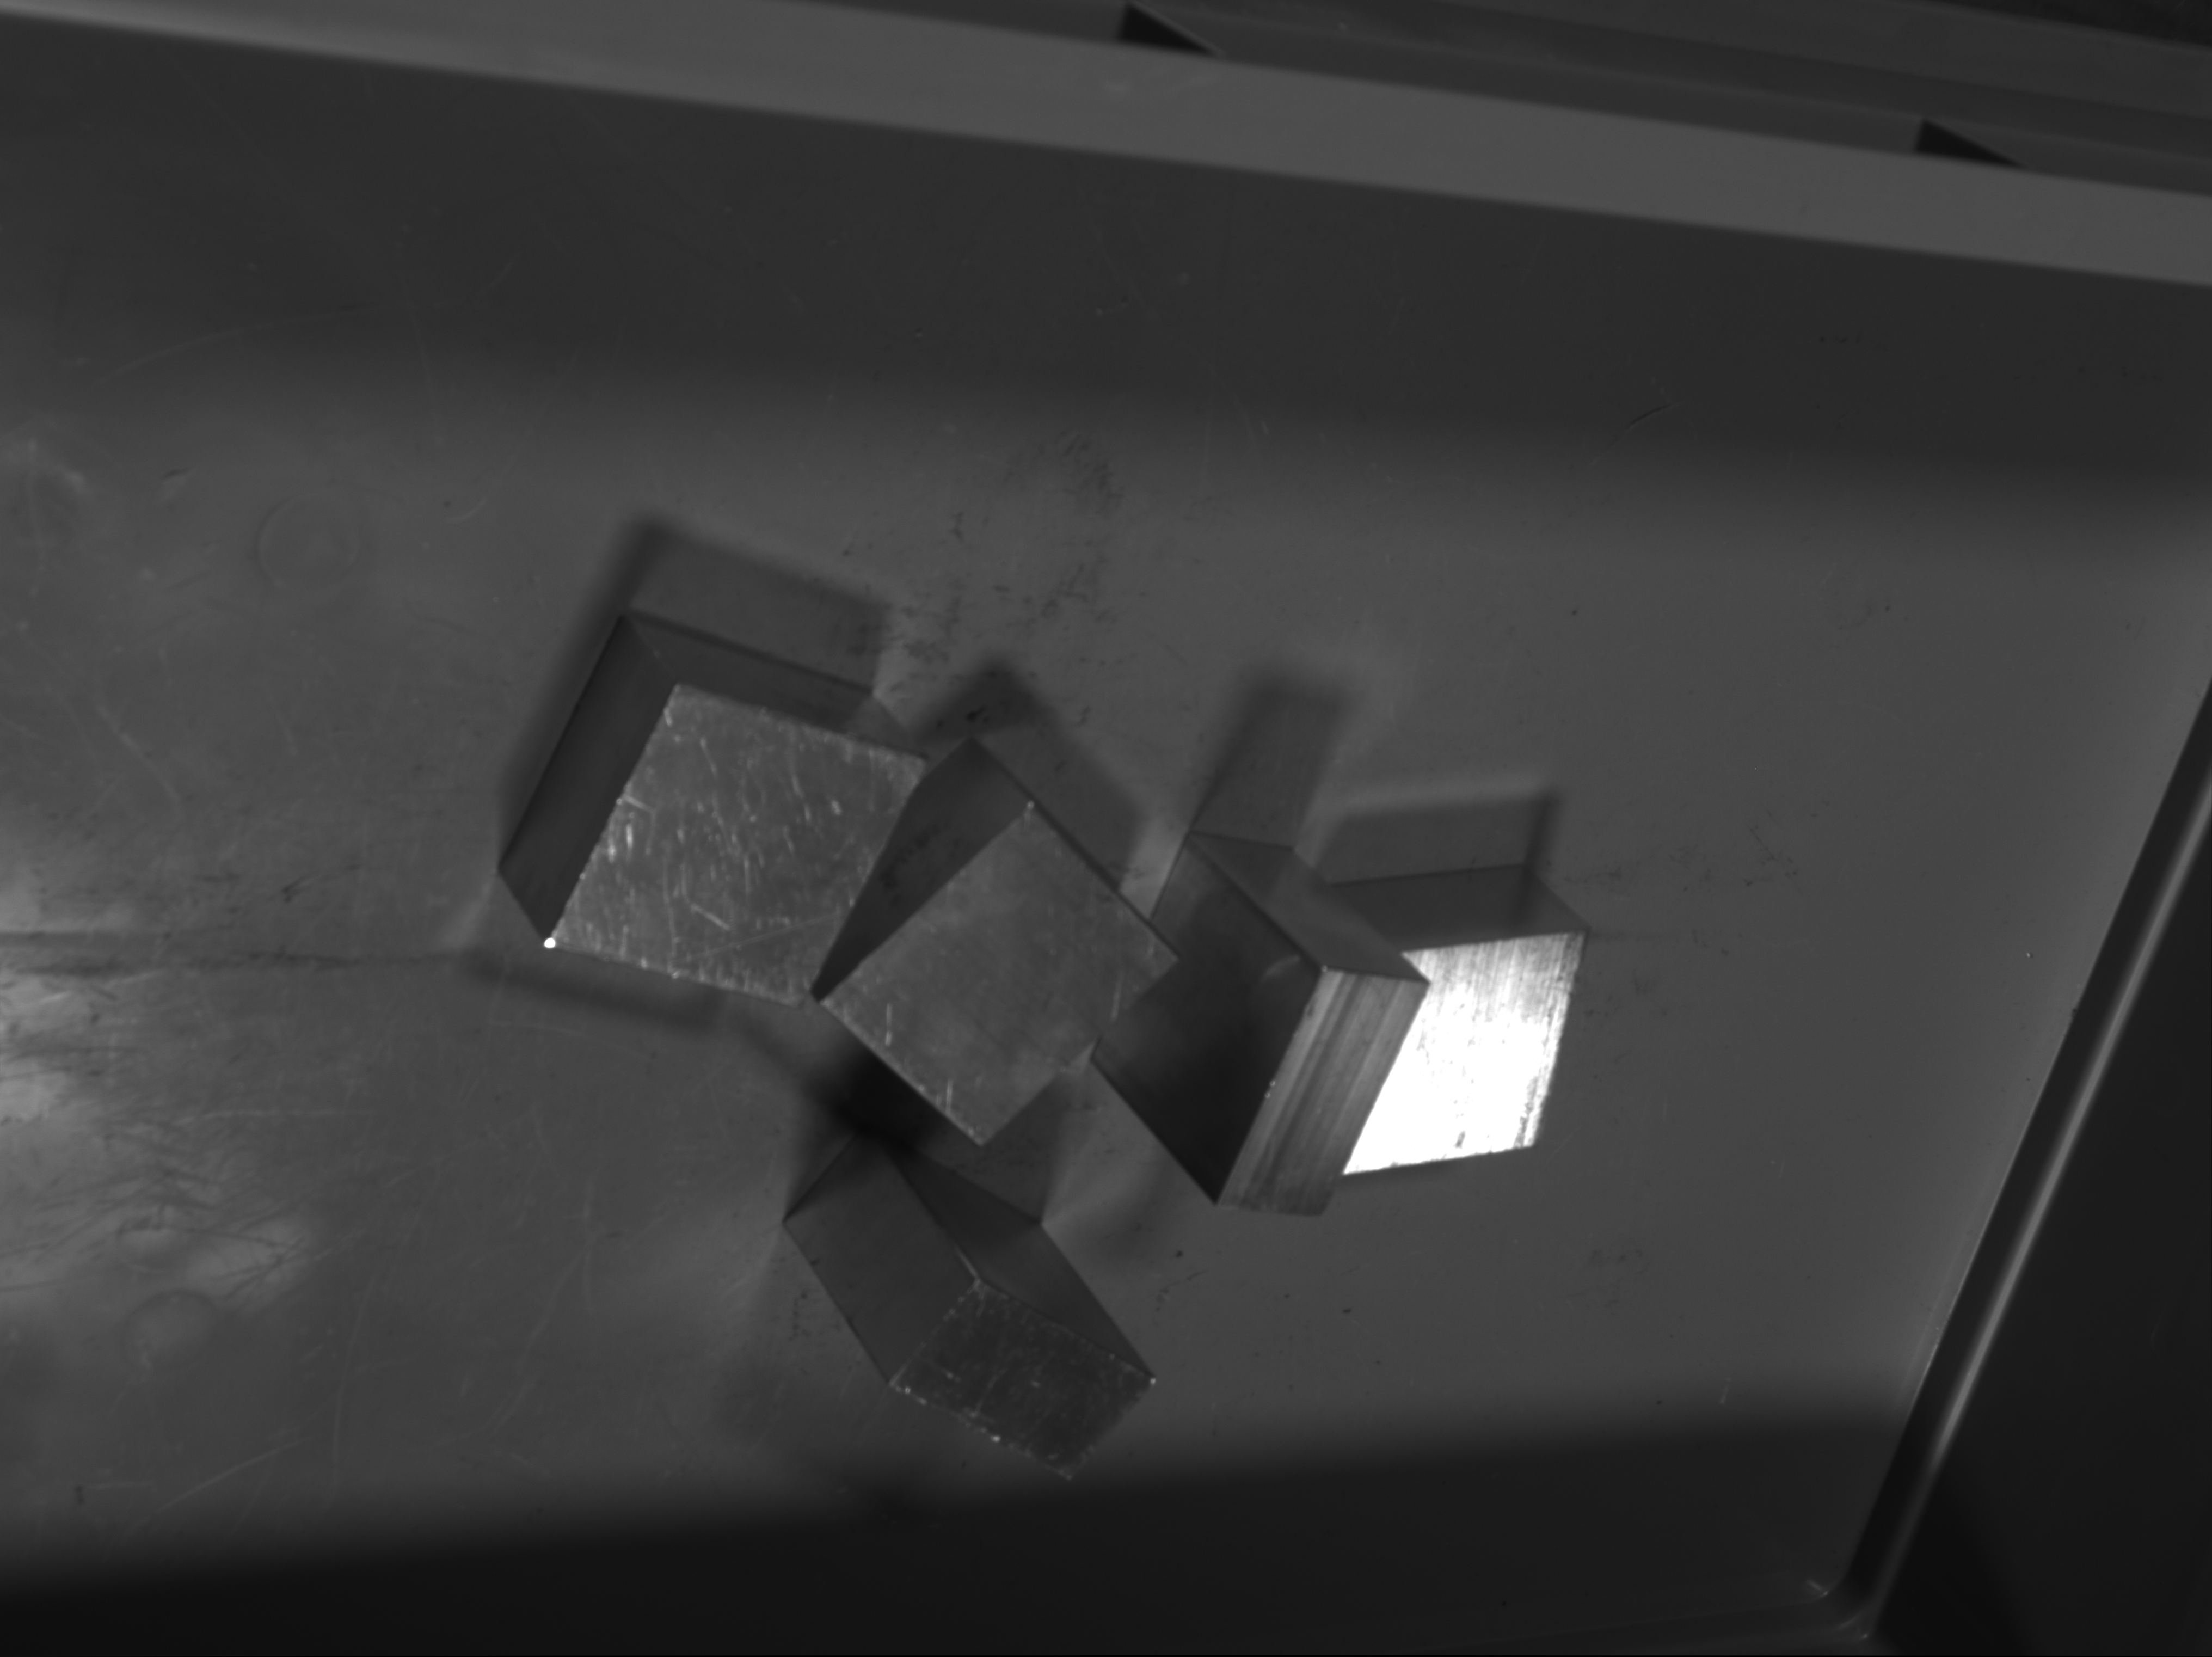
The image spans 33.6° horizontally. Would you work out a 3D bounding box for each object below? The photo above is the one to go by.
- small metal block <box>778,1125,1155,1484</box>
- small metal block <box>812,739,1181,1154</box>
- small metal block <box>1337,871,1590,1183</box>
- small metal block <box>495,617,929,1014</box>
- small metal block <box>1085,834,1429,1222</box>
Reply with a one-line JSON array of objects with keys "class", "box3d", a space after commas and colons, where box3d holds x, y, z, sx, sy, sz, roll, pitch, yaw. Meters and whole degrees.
[{"class": "small metal block", "box3d": [-0.026, 0.087, 0.671, 0.025, 0.050, 0.050, -49, 131, 6]}, {"class": "small metal block", "box3d": [-0.023, 0.021, 0.647, 0.050, 0.025, 0.050, -43, 130, 0]}, {"class": "small metal block", "box3d": [0.061, 0.038, 0.708, 0.050, 0.025, 0.050, -6, 121, -28]}, {"class": "small metal block", "box3d": [-0.066, -0.002, 0.609, 0.050, 0.025, 0.050, 17, 109, -36]}, {"class": "small metal block", "box3d": [0.027, 0.036, 0.671, 0.025, 0.050, 0.050, 10, 113, -35]}]
